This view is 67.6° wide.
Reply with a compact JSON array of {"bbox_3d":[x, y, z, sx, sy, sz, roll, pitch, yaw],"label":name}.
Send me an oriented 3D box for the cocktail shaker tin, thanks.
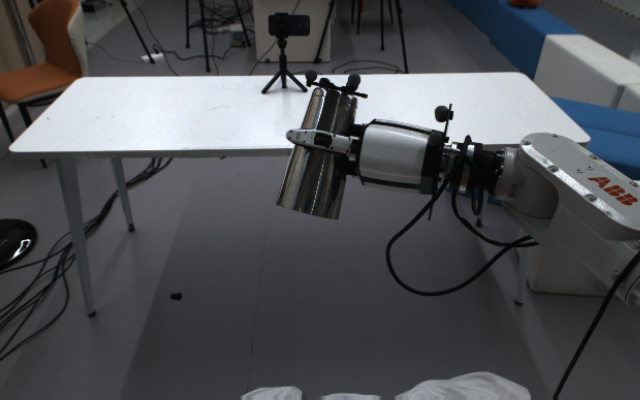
[{"bbox_3d":[0.001,-0.067,0.684,0.093,0.170,0.093,14,2,0],"label":"cocktail shaker tin"}]
